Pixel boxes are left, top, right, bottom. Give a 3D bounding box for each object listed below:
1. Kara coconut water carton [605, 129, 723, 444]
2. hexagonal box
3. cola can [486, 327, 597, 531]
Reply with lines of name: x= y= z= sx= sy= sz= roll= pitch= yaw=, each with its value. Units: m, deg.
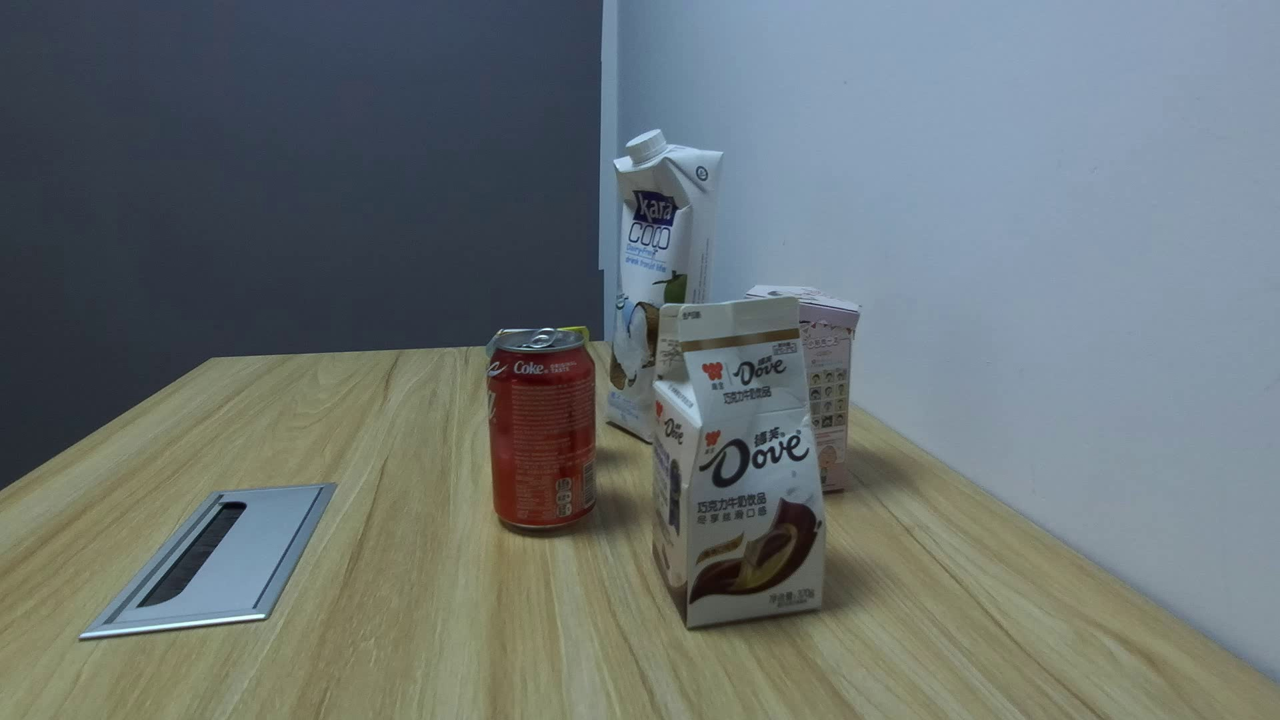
Kara coconut water carton: x=0.020 y=-0.058 z=0.576 sx=0.071 sy=0.244 sz=0.099 roll=-10 pitch=17 yaw=-35
hexagonal box: x=0.110 y=0.019 z=0.502 sx=0.085 sy=0.135 sz=0.091 roll=-13 pitch=20 yaw=-40
cola can: x=-0.061 y=0.042 z=0.446 sx=0.068 sy=0.120 sz=0.068 roll=-1 pitch=15 yaw=1
